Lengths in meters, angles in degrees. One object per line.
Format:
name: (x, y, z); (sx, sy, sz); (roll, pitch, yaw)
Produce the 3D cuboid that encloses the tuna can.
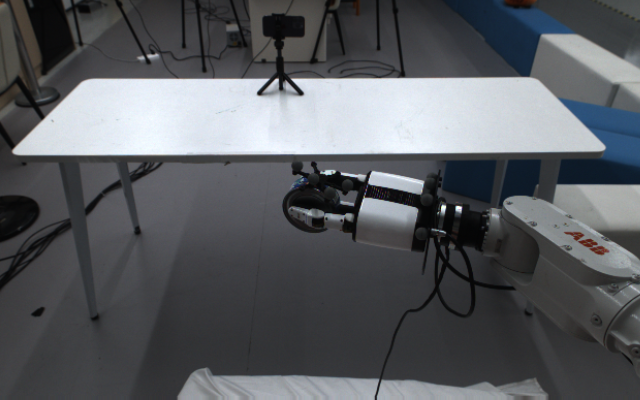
tuna can: (-0.011, 0.008, 0.750); (0.085, 0.085, 0.034); (9, 35, 10)
